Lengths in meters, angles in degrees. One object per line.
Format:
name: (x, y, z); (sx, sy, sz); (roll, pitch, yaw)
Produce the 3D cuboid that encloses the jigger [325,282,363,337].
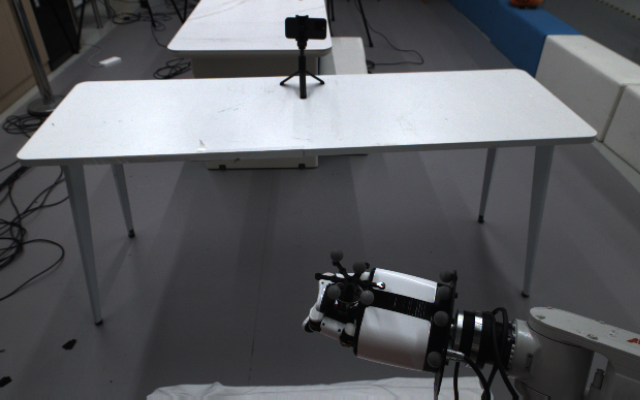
jigger: (0.032, 0.143, 0.638); (0.043, 0.071, 0.043); (7, 32, -4)
